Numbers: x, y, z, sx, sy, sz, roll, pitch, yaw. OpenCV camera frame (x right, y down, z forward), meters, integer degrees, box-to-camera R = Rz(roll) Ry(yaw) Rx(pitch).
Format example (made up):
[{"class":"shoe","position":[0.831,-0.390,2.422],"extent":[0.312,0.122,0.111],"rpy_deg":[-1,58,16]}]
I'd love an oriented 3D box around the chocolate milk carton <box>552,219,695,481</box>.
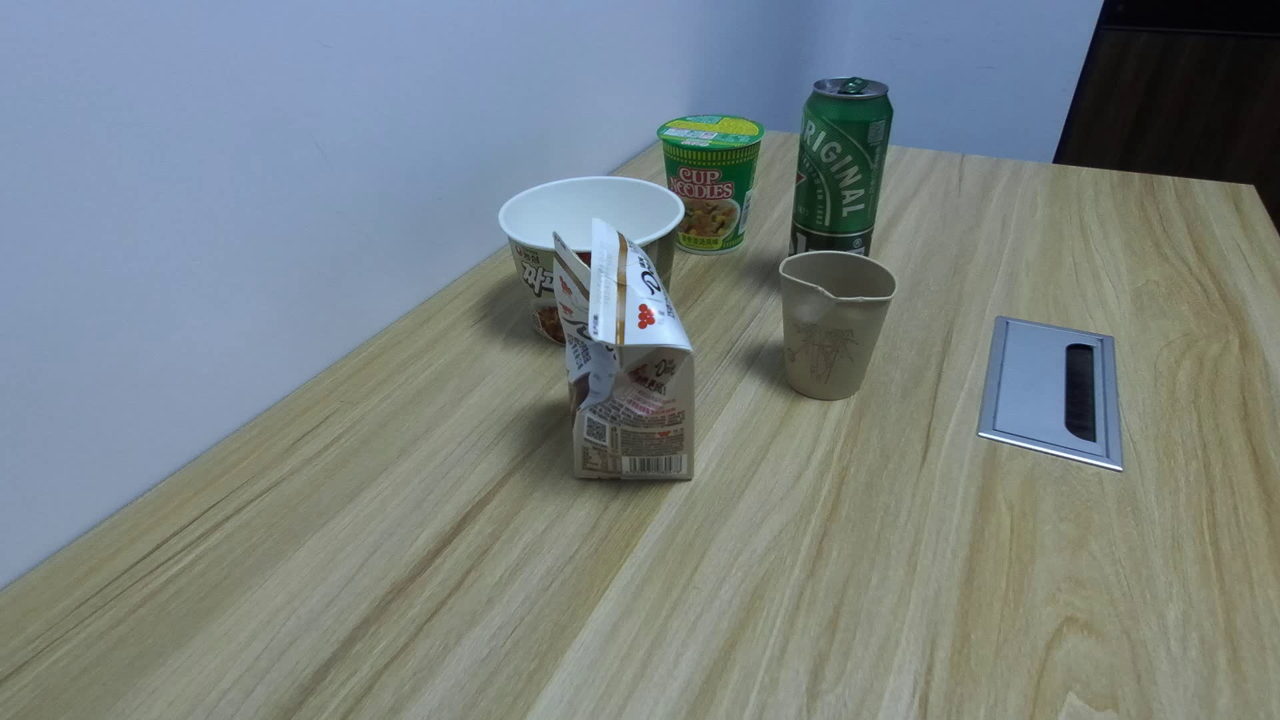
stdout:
[{"class":"chocolate milk carton","position":[-0.009,0.000,0.407],"extent":[0.077,0.156,0.089],"rpy_deg":[-5,47,2]}]

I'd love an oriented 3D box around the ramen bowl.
[{"class":"ramen bowl","position":[-0.035,-0.077,0.560],"extent":[0.140,0.095,0.140],"rpy_deg":[-1,35,1]}]

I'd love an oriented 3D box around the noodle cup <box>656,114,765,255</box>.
[{"class":"noodle cup","position":[0.067,-0.161,0.660],"extent":[0.097,0.110,0.097],"rpy_deg":[-2,35,2]}]

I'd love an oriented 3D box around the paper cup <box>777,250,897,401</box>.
[{"class":"paper cup","position":[0.129,-0.022,0.479],"extent":[0.073,0.081,0.068],"rpy_deg":[-4,34,-5]}]

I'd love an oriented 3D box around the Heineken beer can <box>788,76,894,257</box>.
[{"class":"Heineken beer can","position":[0.158,-0.130,0.564],"extent":[0.067,0.169,0.067],"rpy_deg":[-1,34,1]}]
